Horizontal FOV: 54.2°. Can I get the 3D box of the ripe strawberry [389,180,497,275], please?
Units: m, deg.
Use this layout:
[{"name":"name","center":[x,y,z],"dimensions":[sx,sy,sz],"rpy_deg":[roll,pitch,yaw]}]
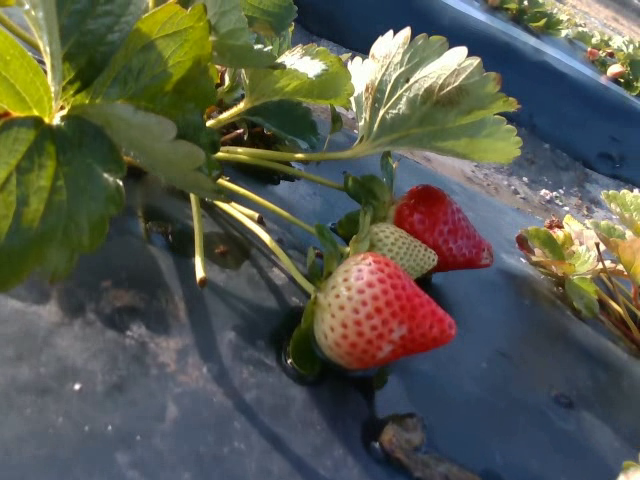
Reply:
[{"name":"ripe strawberry","center":[0.062,-0.001,0.300],"dimensions":[0.064,0.049,0.050],"rpy_deg":[34,-21,-4]}]
